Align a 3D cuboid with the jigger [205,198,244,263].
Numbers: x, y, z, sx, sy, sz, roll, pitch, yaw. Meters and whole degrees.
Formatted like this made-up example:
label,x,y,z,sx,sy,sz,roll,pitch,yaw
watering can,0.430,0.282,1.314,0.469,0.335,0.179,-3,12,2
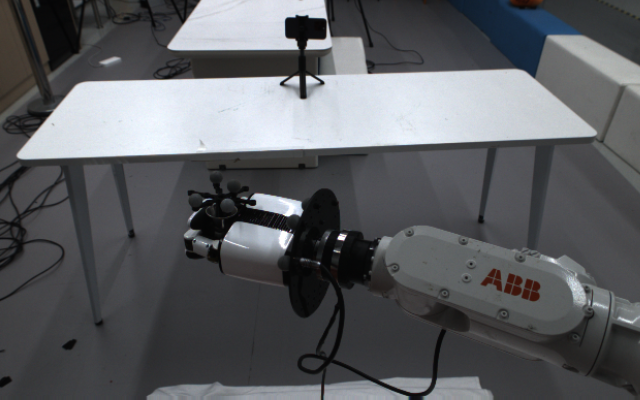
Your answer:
label,x,y,z,sx,sy,sz,roll,pitch,yaw
jigger,-0.126,0.043,0.632,0.043,0.071,0.043,5,26,-3
